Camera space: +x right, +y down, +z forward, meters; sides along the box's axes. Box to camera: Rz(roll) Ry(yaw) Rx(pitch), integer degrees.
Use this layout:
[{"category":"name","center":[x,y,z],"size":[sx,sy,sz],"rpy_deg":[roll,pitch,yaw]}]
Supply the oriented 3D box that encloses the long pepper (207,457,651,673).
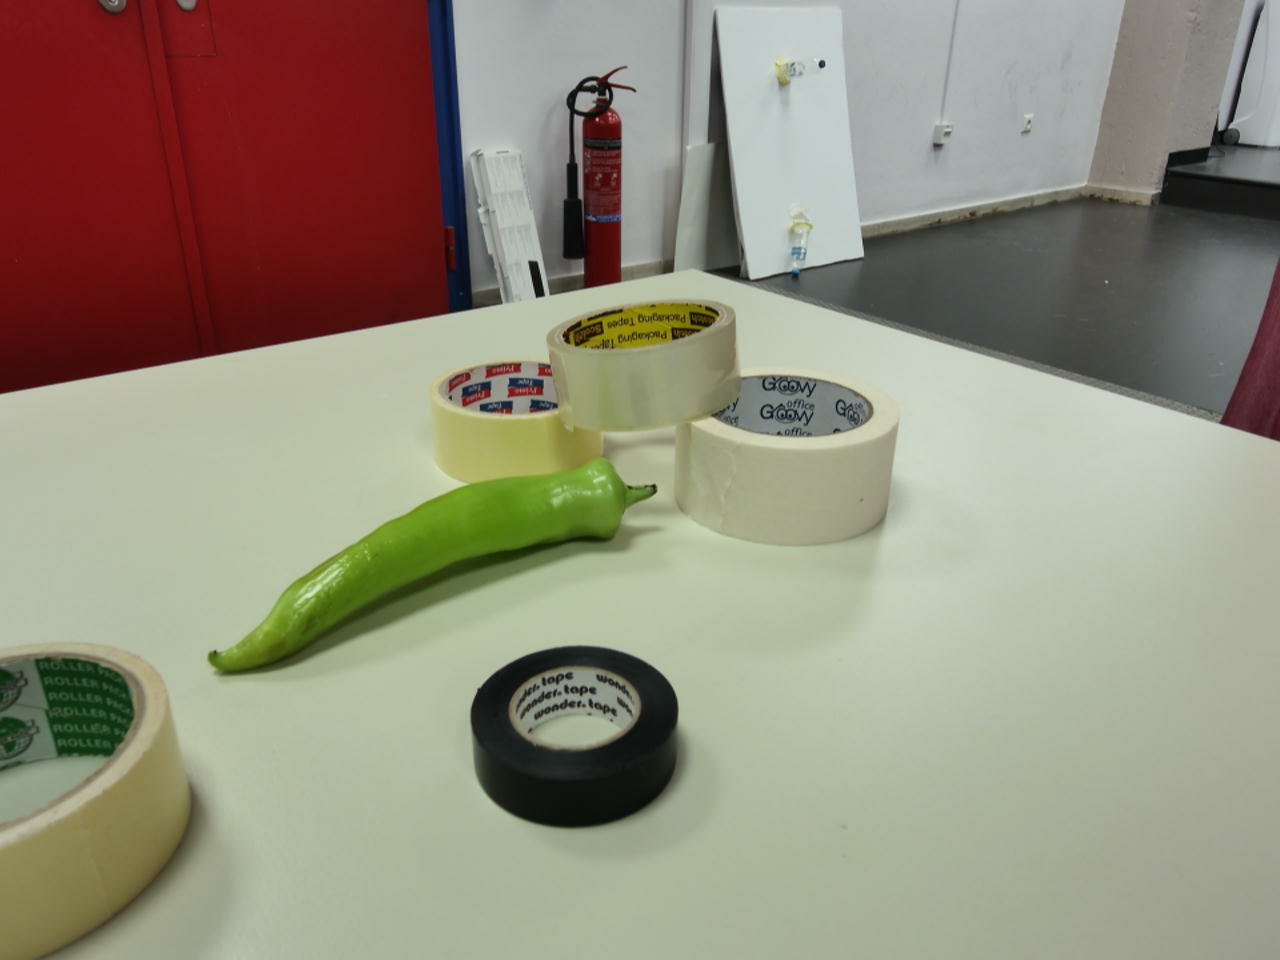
[{"category":"long pepper","center":[-0.080,0.025,0.409],"size":[0.197,0.038,0.047],"rpy_deg":[-16,29,-34]}]
